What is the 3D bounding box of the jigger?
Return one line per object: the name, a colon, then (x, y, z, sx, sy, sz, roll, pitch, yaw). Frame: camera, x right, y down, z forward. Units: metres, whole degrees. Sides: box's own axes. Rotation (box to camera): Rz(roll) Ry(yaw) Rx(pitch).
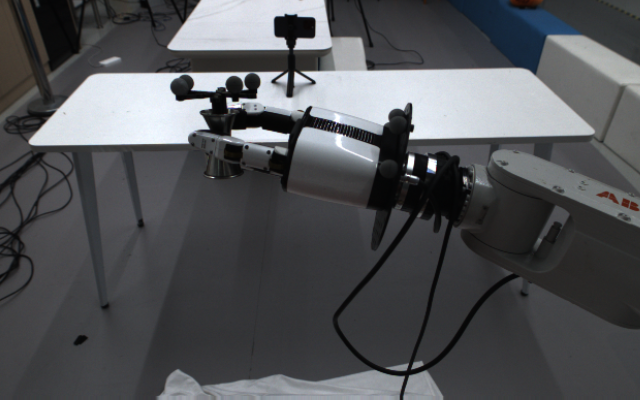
jigger: (-0.104, -0.060, 0.518, 0.043, 0.071, 0.043, 0, 21, 0)
